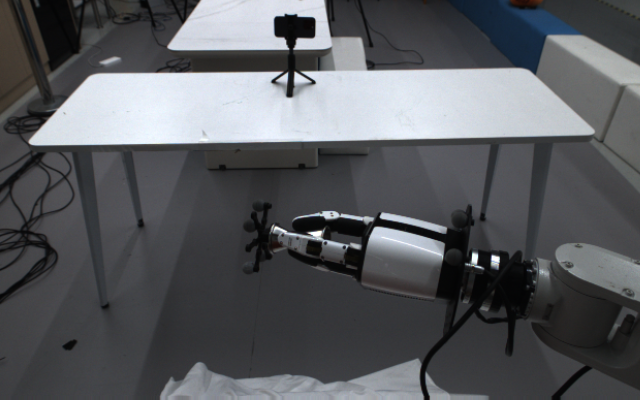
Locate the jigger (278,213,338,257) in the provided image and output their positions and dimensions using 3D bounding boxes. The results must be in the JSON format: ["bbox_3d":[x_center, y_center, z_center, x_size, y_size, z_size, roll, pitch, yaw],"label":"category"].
[{"bbox_3d":[-0.018,0.047,0.597,0.071,0.043,0.043,4,34,15],"label":"jigger"}]
